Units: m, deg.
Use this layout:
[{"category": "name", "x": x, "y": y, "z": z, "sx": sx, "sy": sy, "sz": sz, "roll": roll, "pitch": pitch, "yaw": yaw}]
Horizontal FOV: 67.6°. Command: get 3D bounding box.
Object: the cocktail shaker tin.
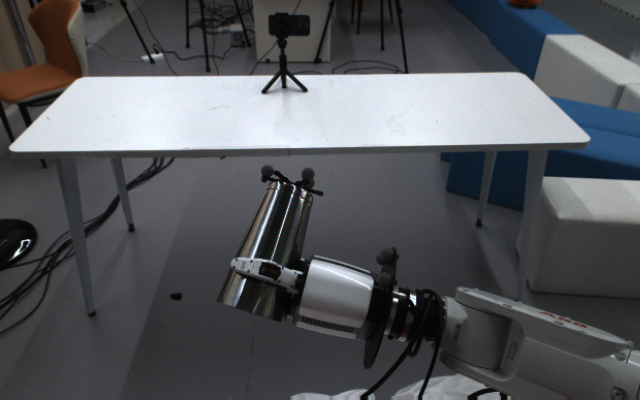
[{"category": "cocktail shaker tin", "x": -0.065, "y": 0.066, "z": 0.638, "sx": 0.093, "sy": 0.093, "sz": 0.170, "roll": 13, "pitch": 74, "yaw": 15}]
